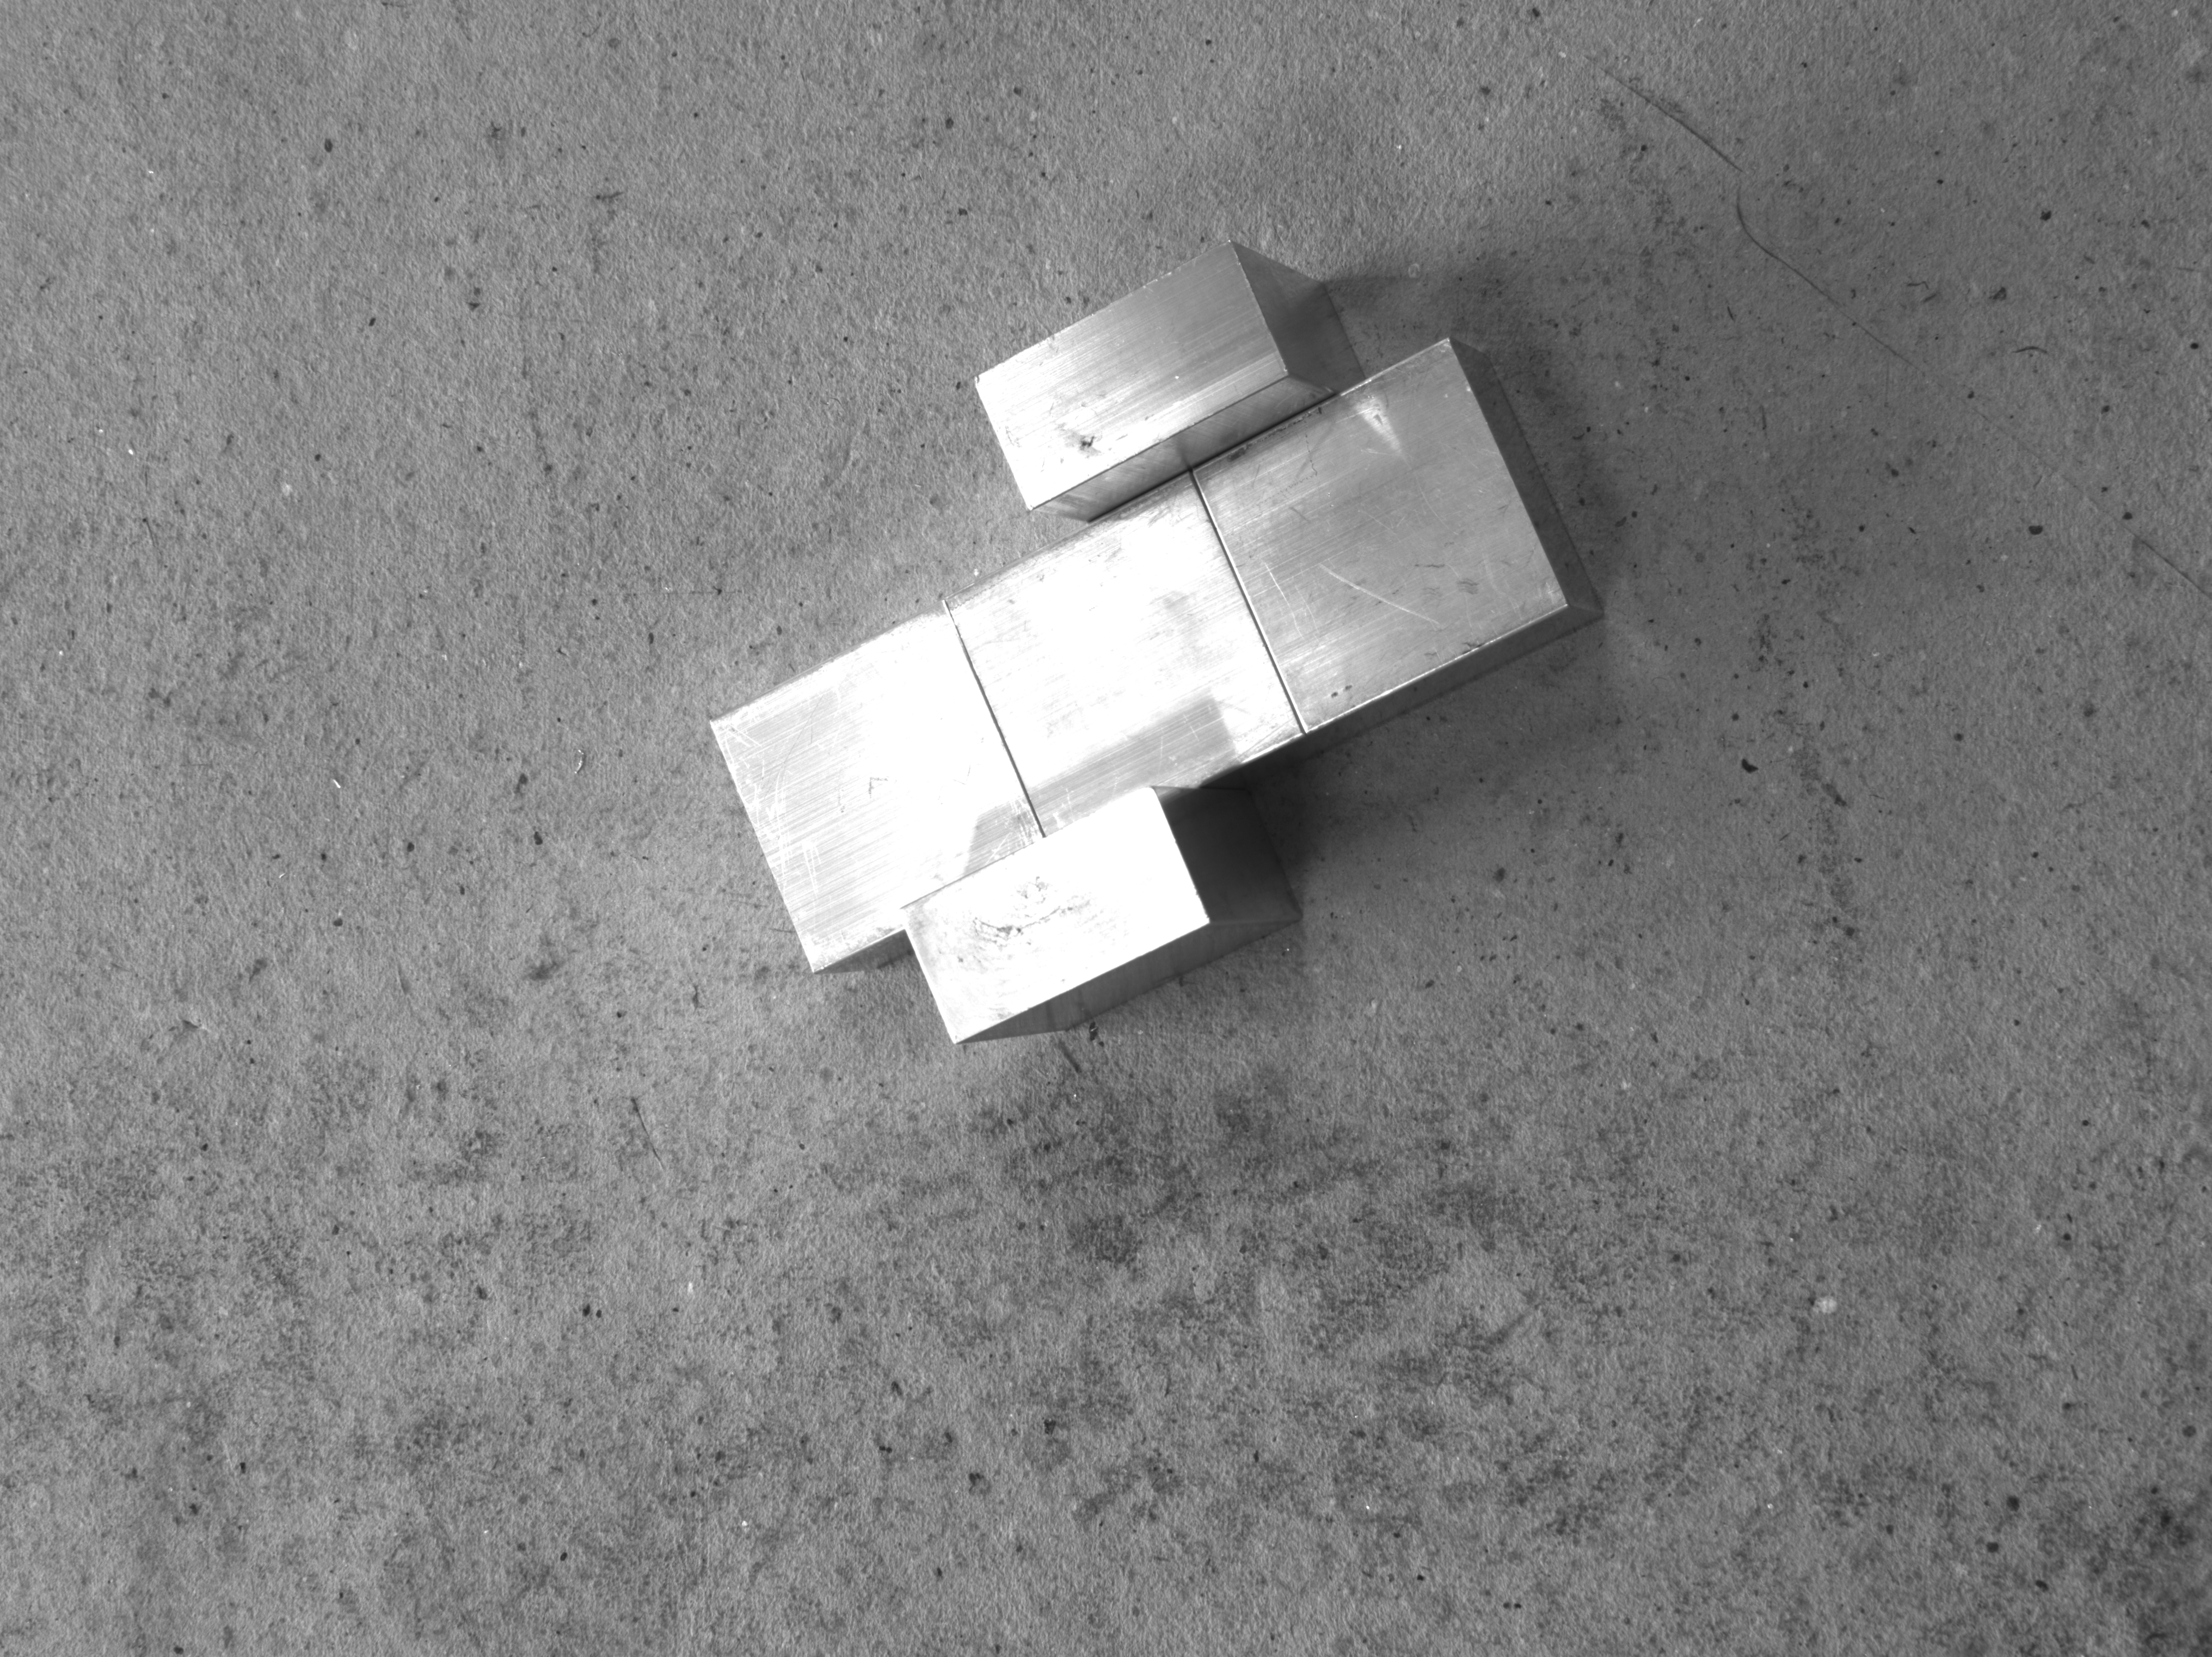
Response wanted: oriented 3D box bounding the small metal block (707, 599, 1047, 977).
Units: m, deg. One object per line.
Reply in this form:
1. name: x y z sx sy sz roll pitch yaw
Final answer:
1. small metal block: -0.036 -0.007 0.659 0.050 0.025 0.050 -26 82 18

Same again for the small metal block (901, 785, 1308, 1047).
1. small metal block: 0.001 0.015 0.633 0.050 0.050 0.025 -26 80 18

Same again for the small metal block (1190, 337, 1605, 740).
1. small metal block: 0.050 -0.049 0.628 0.050 0.025 0.050 -26 82 18

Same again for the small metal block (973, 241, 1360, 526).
1. small metal block: 0.013 -0.074 0.629 0.050 0.050 0.025 -26 81 19

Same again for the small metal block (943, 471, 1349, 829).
1. small metal block: 0.007 -0.028 0.644 0.050 0.025 0.050 -26 82 18
